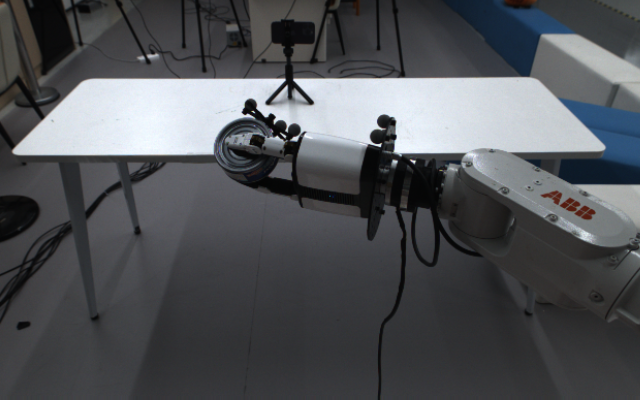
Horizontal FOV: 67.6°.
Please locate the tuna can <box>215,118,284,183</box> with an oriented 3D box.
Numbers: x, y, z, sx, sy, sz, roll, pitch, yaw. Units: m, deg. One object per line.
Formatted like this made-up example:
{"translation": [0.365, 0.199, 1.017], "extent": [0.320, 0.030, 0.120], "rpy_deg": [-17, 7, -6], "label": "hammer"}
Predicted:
{"translation": [-0.097, -0.063, 0.658], "extent": [0.085, 0.034, 0.085], "rpy_deg": [-4, 69, 10], "label": "tuna can"}
